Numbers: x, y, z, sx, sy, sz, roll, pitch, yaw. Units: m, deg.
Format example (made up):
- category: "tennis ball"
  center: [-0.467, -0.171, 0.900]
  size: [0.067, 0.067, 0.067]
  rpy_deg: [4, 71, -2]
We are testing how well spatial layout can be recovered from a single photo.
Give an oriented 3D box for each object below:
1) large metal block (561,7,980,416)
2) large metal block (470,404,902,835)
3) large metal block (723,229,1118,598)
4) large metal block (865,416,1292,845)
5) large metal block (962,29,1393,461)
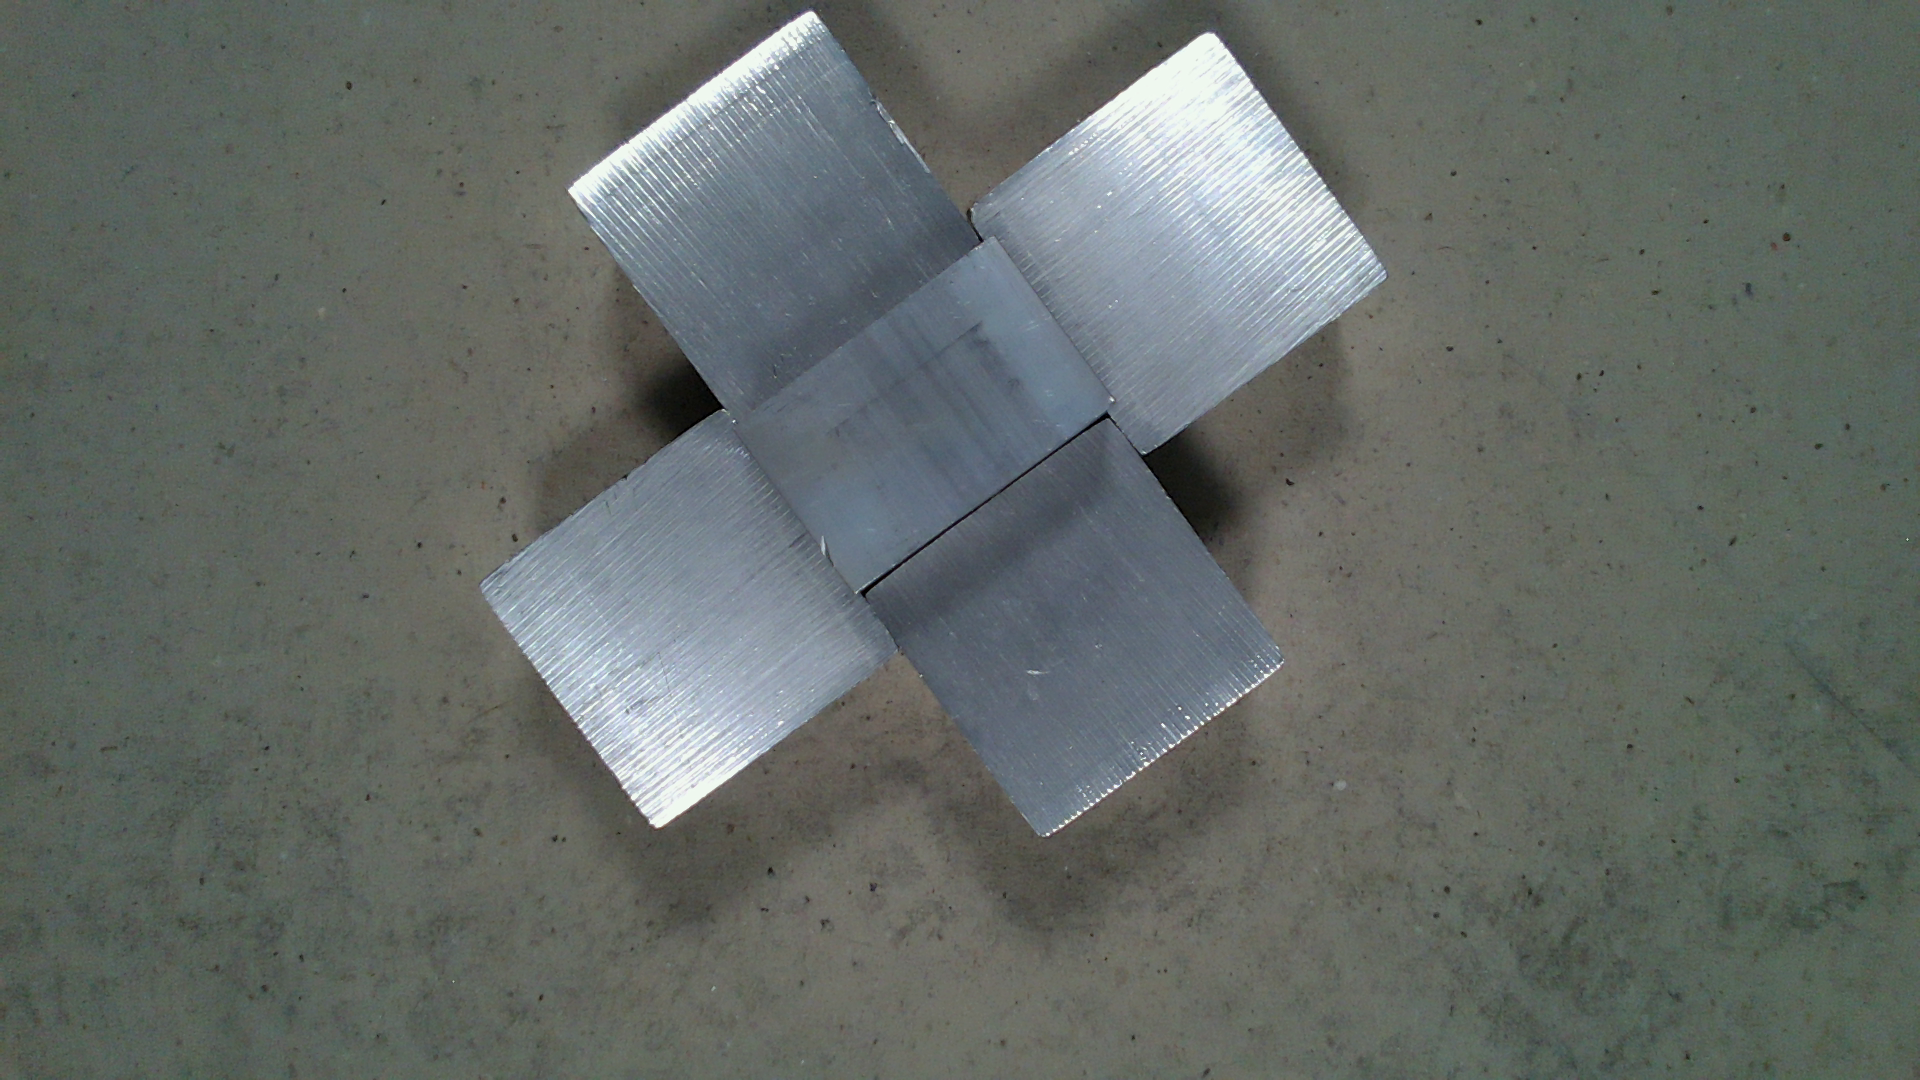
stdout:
- category: "large metal block"
  center: [-0.047, -0.082, 0.382]
  size: [0.080, 0.050, 0.080]
  rpy_deg: [-37, 90, 0]
- category: "large metal block"
  center: [-0.071, 0.020, 0.382]
  size: [0.080, 0.050, 0.080]
  rpy_deg: [-37, 90, 0]
- category: "large metal block"
  center: [-0.009, -0.030, 0.368]
  size: [0.080, 0.080, 0.050]
  rpy_deg: [-37, 90, 0]
- category: "large metal block"
  center: [0.030, 0.023, 0.382]
  size: [0.080, 0.050, 0.080]
  rpy_deg: [-37, 90, 0]
- category: "large metal block"
  center: [0.057, -0.077, 0.382]
  size: [0.080, 0.050, 0.080]
  rpy_deg: [-37, 90, 0]
